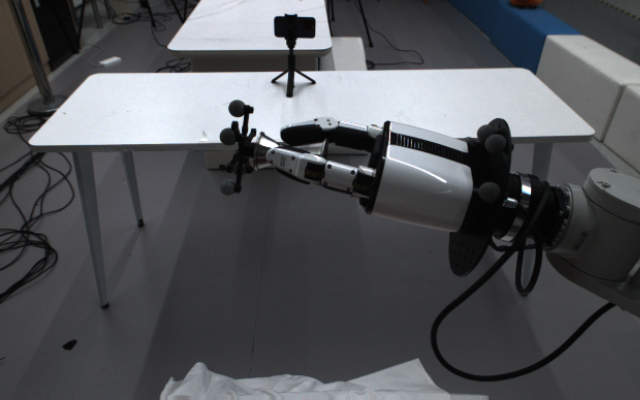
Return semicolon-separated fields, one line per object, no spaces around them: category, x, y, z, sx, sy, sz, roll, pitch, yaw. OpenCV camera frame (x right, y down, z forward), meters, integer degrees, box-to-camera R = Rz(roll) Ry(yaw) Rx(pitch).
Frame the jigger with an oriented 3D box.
jigger;-0.021;-0.047;0.491;0.071;0.043;0.043;8;35;5
